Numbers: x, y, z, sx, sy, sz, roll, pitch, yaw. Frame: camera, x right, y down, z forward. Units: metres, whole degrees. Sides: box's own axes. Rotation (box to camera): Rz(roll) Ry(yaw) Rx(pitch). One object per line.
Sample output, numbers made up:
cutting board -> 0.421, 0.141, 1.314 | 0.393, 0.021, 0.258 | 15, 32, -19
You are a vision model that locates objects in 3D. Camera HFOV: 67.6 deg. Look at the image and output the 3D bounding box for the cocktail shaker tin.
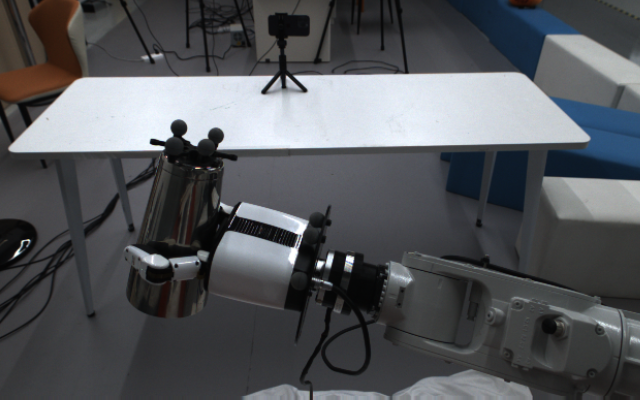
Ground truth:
cocktail shaker tin -> -0.153, 0.033, 0.534 | 0.093, 0.170, 0.093 | 15, 20, -5
